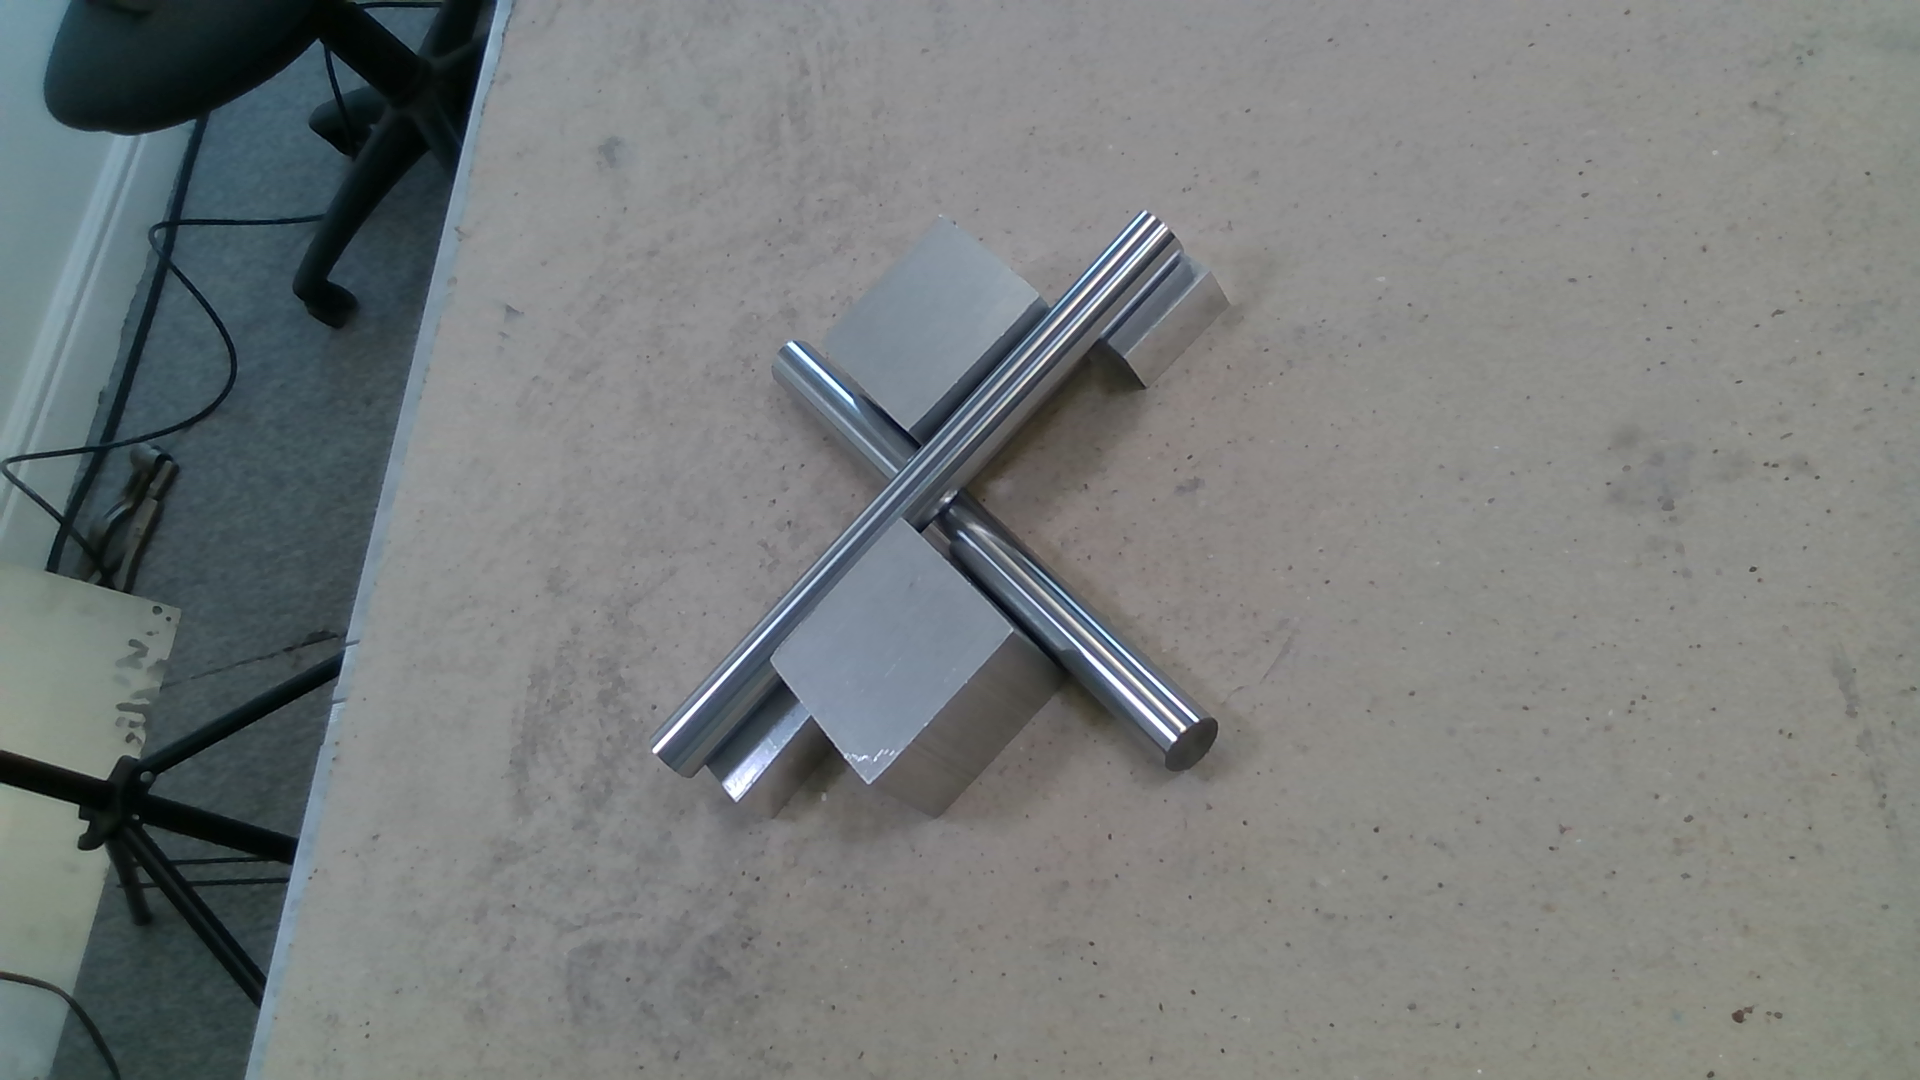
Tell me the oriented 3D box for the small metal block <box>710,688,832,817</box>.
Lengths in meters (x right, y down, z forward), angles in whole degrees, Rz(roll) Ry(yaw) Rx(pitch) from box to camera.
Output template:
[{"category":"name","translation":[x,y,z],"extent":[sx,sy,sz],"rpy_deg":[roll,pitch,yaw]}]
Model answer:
[{"category":"small metal block","translation":[-0.085,0.082,0.596],"extent":[0.050,0.025,0.050],"rpy_deg":[-50,51,-1]}]

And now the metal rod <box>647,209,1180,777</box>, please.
[{"category":"metal rod","translation":[-0.020,-0.019,0.575],"extent":[0.300,0.025,0.025],"rpy_deg":[-47,51,2]}]

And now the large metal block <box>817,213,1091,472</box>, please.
[{"category":"large metal block","translation":[-0.004,-0.086,0.615],"extent":[0.080,0.050,0.080],"rpy_deg":[-46,51,3]}]

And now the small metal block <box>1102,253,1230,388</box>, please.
[{"category":"small metal block","translation":[0.078,-0.102,0.593],"extent":[0.050,0.025,0.050],"rpy_deg":[-46,51,3]}]

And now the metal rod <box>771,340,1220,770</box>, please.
[{"category":"metal rod","translation":[0.001,-0.007,0.591],"extent":[0.025,0.025,0.299],"rpy_deg":[-47,51,2]}]

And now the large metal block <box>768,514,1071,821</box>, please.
[{"category":"large metal block","translation":[-0.017,0.051,0.553],"extent":[0.080,0.050,0.080],"rpy_deg":[-47,51,2]}]
